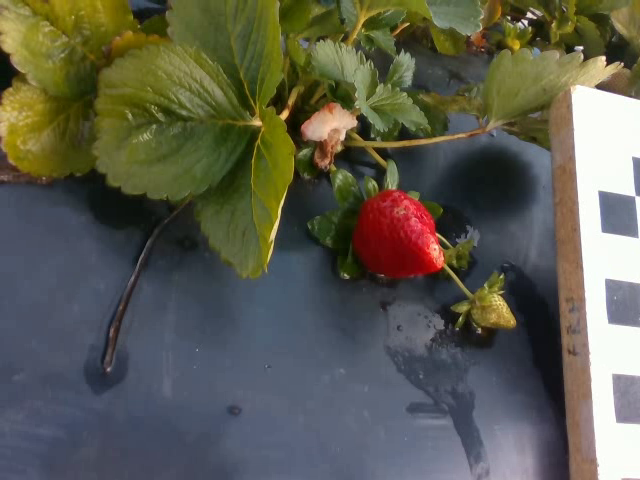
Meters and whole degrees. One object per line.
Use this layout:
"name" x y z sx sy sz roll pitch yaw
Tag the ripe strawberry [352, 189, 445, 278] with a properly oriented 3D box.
"ripe strawberry" 0.045 0.001 0.300 0.043 0.052 0.057 -19 21 -16
